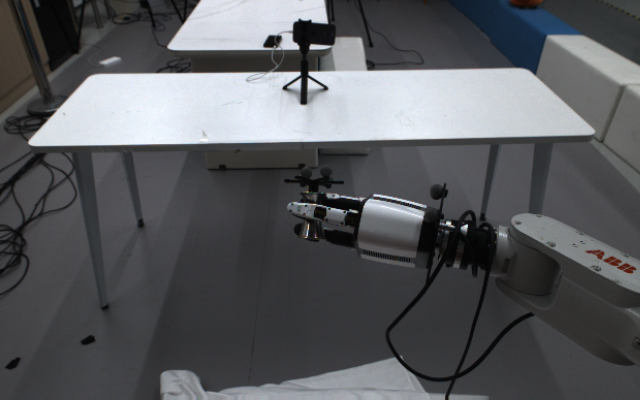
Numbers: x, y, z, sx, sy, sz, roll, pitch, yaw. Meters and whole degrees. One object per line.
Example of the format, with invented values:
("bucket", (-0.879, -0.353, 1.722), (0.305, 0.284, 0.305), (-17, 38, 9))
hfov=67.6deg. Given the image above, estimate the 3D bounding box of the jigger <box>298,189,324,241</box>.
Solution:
("jigger", (-0.011, 0.023, 0.718), (0.043, 0.071, 0.043), (1, -6, 0))
